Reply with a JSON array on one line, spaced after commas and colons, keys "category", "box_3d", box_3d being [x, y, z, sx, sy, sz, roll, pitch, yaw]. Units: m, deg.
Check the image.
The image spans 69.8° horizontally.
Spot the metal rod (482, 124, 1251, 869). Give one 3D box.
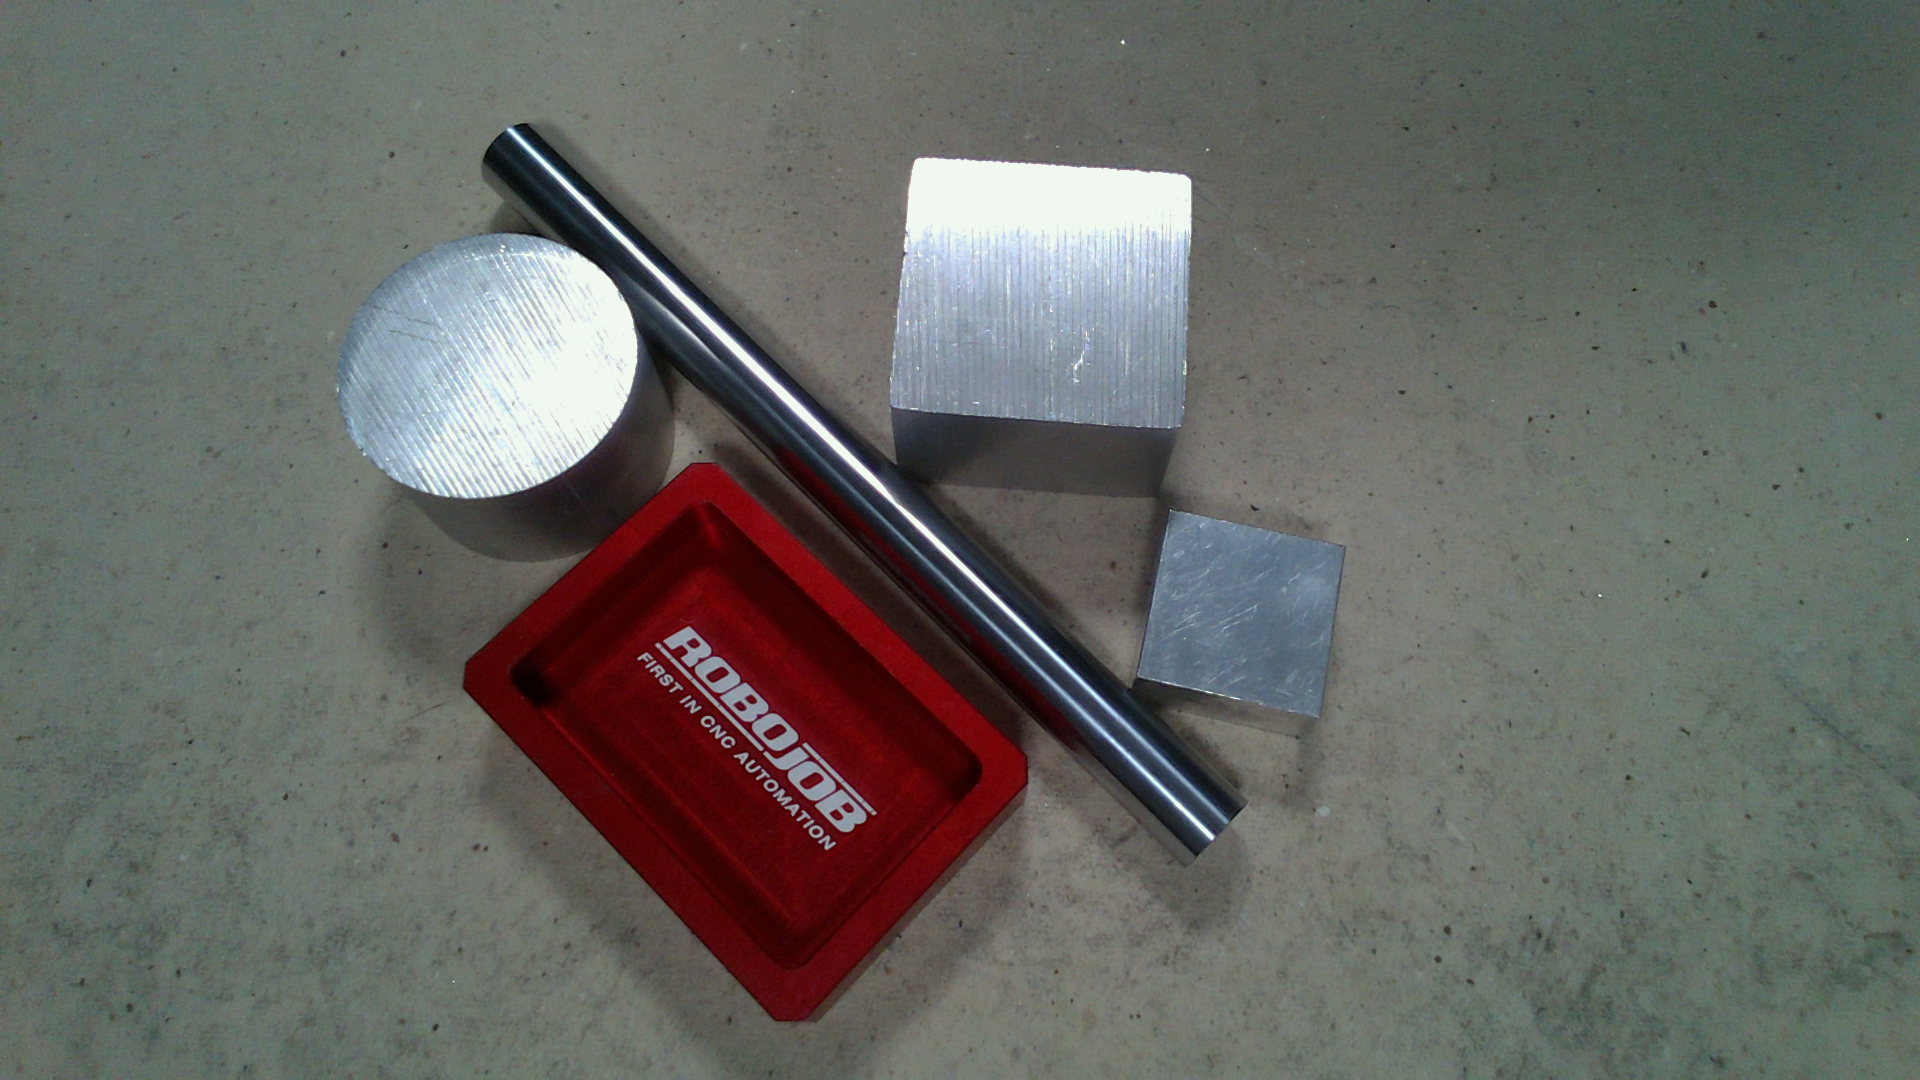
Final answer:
[{"category": "metal rod", "box_3d": [-0.036, -0.022, 0.402, 0.025, 0.025, 0.300, -43, 76, -14]}]

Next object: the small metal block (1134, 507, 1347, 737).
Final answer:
[{"category": "small metal block", "box_3d": [0.078, 0.023, 0.387, 0.050, 0.025, 0.050, 12, 70, 4]}]

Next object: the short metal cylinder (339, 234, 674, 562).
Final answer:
[{"category": "short metal cylinder", "box_3d": [-0.127, -0.040, 0.396, 0.080, 0.050, 0.080, 0, 70, 0]}]

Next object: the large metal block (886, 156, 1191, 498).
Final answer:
[{"category": "large metal block", "box_3d": [0.023, -0.061, 0.404, 0.080, 0.050, 0.080, 4, 70, 1]}]

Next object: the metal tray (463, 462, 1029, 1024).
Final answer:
[{"category": "metal tray", "box_3d": [-0.057, 0.053, 0.373, 0.130, 0.030, 0.090, 42, 75, 14]}]
